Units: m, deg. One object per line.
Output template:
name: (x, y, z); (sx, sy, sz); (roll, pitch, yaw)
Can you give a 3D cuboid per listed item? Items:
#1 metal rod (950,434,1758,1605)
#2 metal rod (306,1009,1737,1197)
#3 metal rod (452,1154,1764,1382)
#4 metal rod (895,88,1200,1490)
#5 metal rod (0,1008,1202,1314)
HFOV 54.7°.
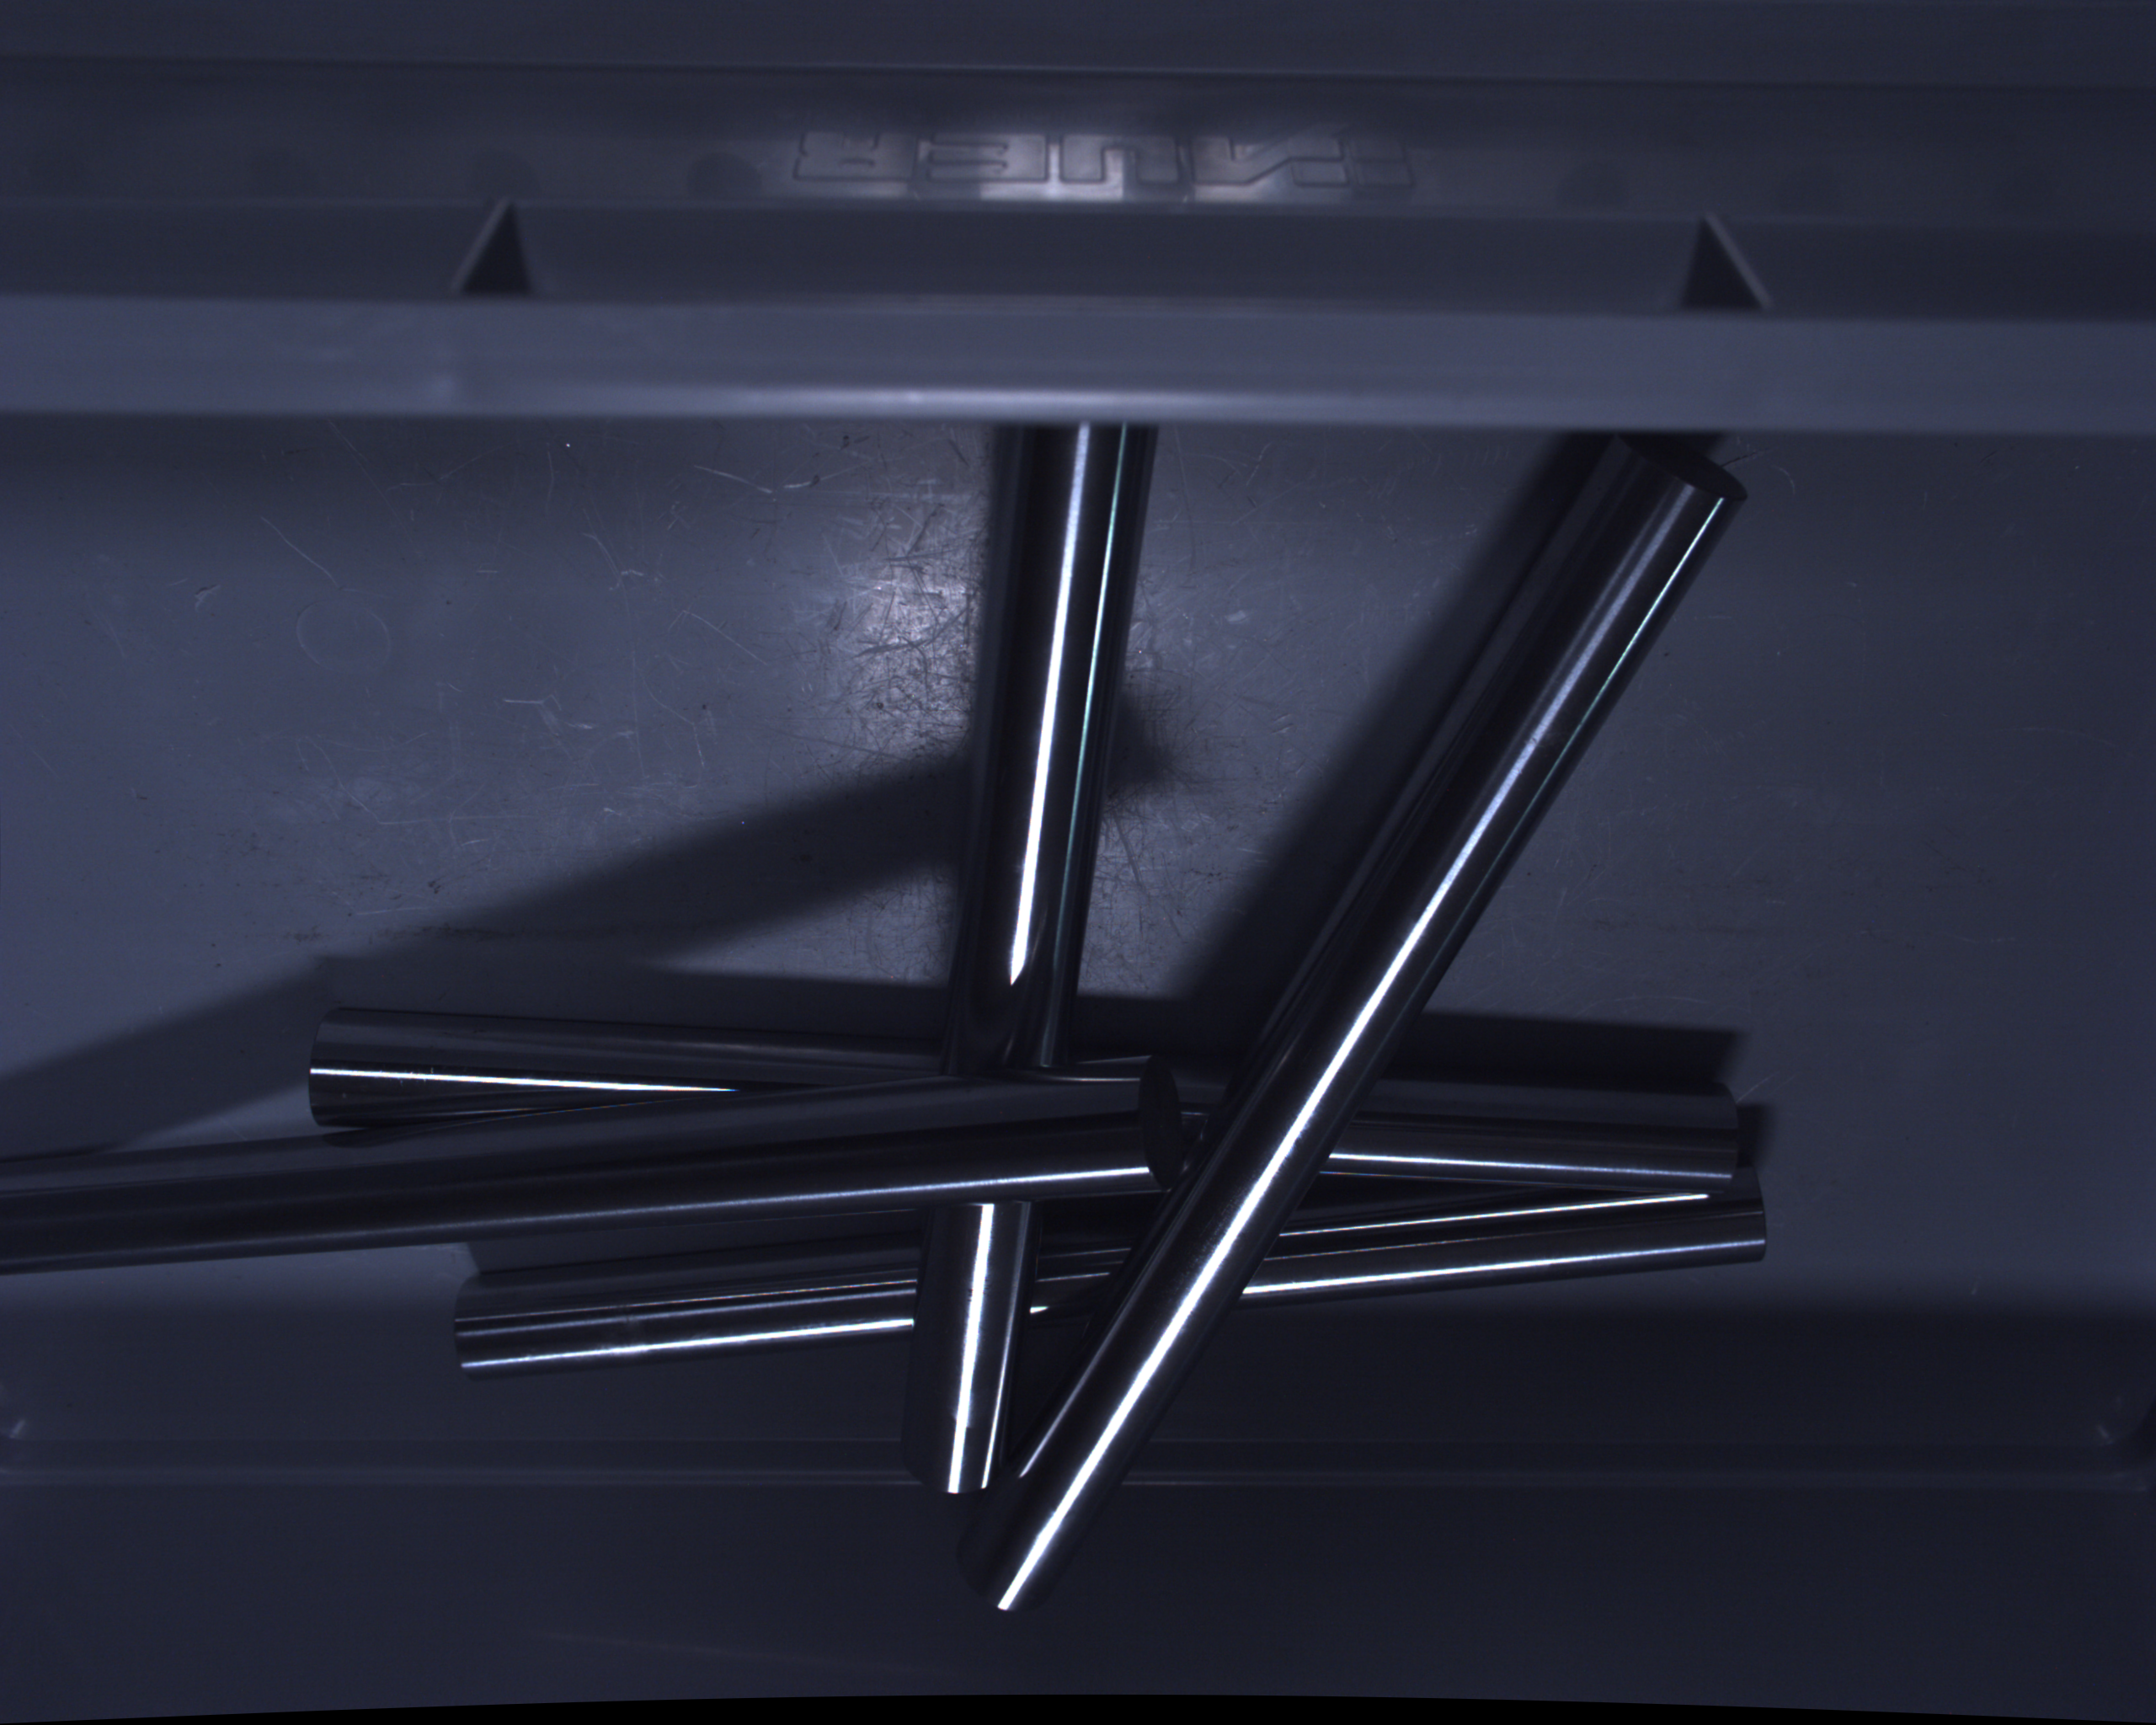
metal rod: (0.043, 0.050, 0.424); (0.025, 0.025, 0.298); (19, 120, -16)
metal rod: (-0.009, 0.052, 0.452); (0.302, 0.025, 0.025); (3, 130, -4)
metal rod: (0.004, 0.095, 0.488); (0.302, 0.025, 0.025); (-6, 130, 5)
metal rod: (-0.012, 0.011, 0.393); (0.025, 0.025, 0.298); (5, 124, -5)
metal rod: (-0.123, 0.066, 0.428); (0.301, 0.025, 0.025); (-11, 130, 15)
